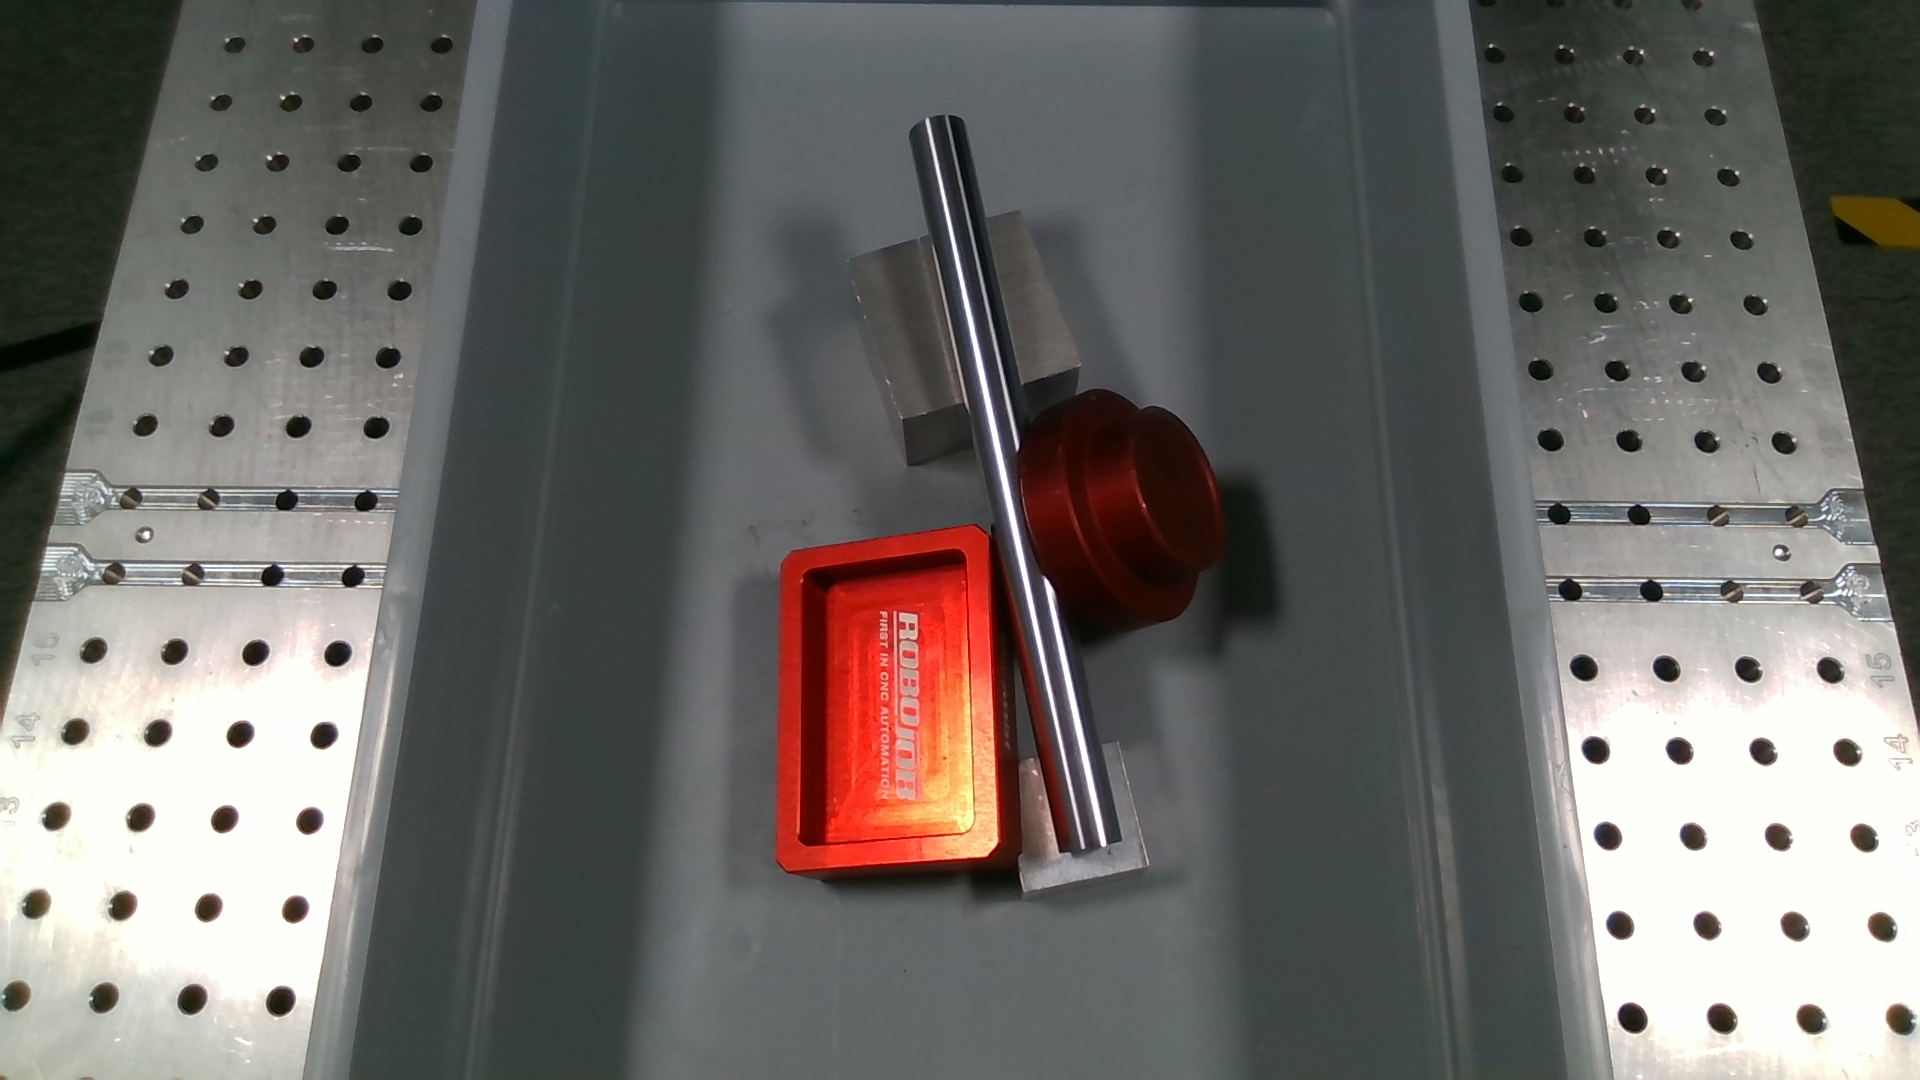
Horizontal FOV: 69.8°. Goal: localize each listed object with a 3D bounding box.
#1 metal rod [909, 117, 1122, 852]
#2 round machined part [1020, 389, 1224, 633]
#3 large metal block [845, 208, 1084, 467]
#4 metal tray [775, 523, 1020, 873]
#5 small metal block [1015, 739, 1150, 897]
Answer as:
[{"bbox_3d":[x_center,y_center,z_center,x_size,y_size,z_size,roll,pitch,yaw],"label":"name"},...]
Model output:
[{"bbox_3d":[0.020,-0.028,0.549,0.025,0.025,0.299,-11,78,-4],"label":"metal rod"},{"bbox_3d":[0.070,-0.015,0.551,0.042,0.098,0.098,-20,65,36],"label":"round machined part"},{"bbox_3d":[0.001,-0.088,0.604,0.080,0.050,0.080,-17,71,-6],"label":"large metal block"},{"bbox_3d":[-0.026,0.064,0.546,0.090,0.030,0.130,-8,70,18],"label":"metal tray"},{"bbox_3d":[0.043,0.111,0.547,0.050,0.025,0.050,-11,71,-4],"label":"small metal block"}]
